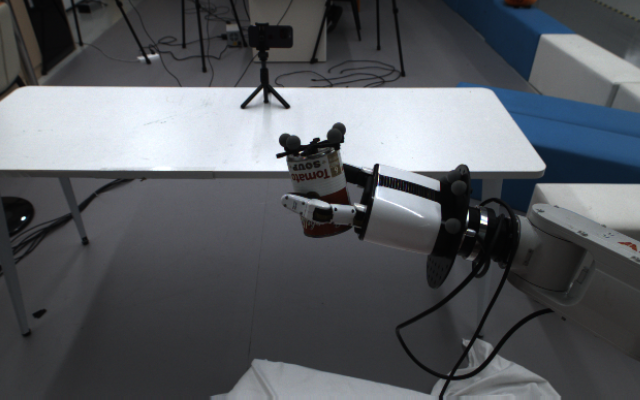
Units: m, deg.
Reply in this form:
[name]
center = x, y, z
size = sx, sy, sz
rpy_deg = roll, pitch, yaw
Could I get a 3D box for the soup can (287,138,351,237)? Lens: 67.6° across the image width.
[soup can]
center = 0.003, -0.013, 0.602
size = 0.067, 0.101, 0.067
rpy_deg = -12, 17, 4
